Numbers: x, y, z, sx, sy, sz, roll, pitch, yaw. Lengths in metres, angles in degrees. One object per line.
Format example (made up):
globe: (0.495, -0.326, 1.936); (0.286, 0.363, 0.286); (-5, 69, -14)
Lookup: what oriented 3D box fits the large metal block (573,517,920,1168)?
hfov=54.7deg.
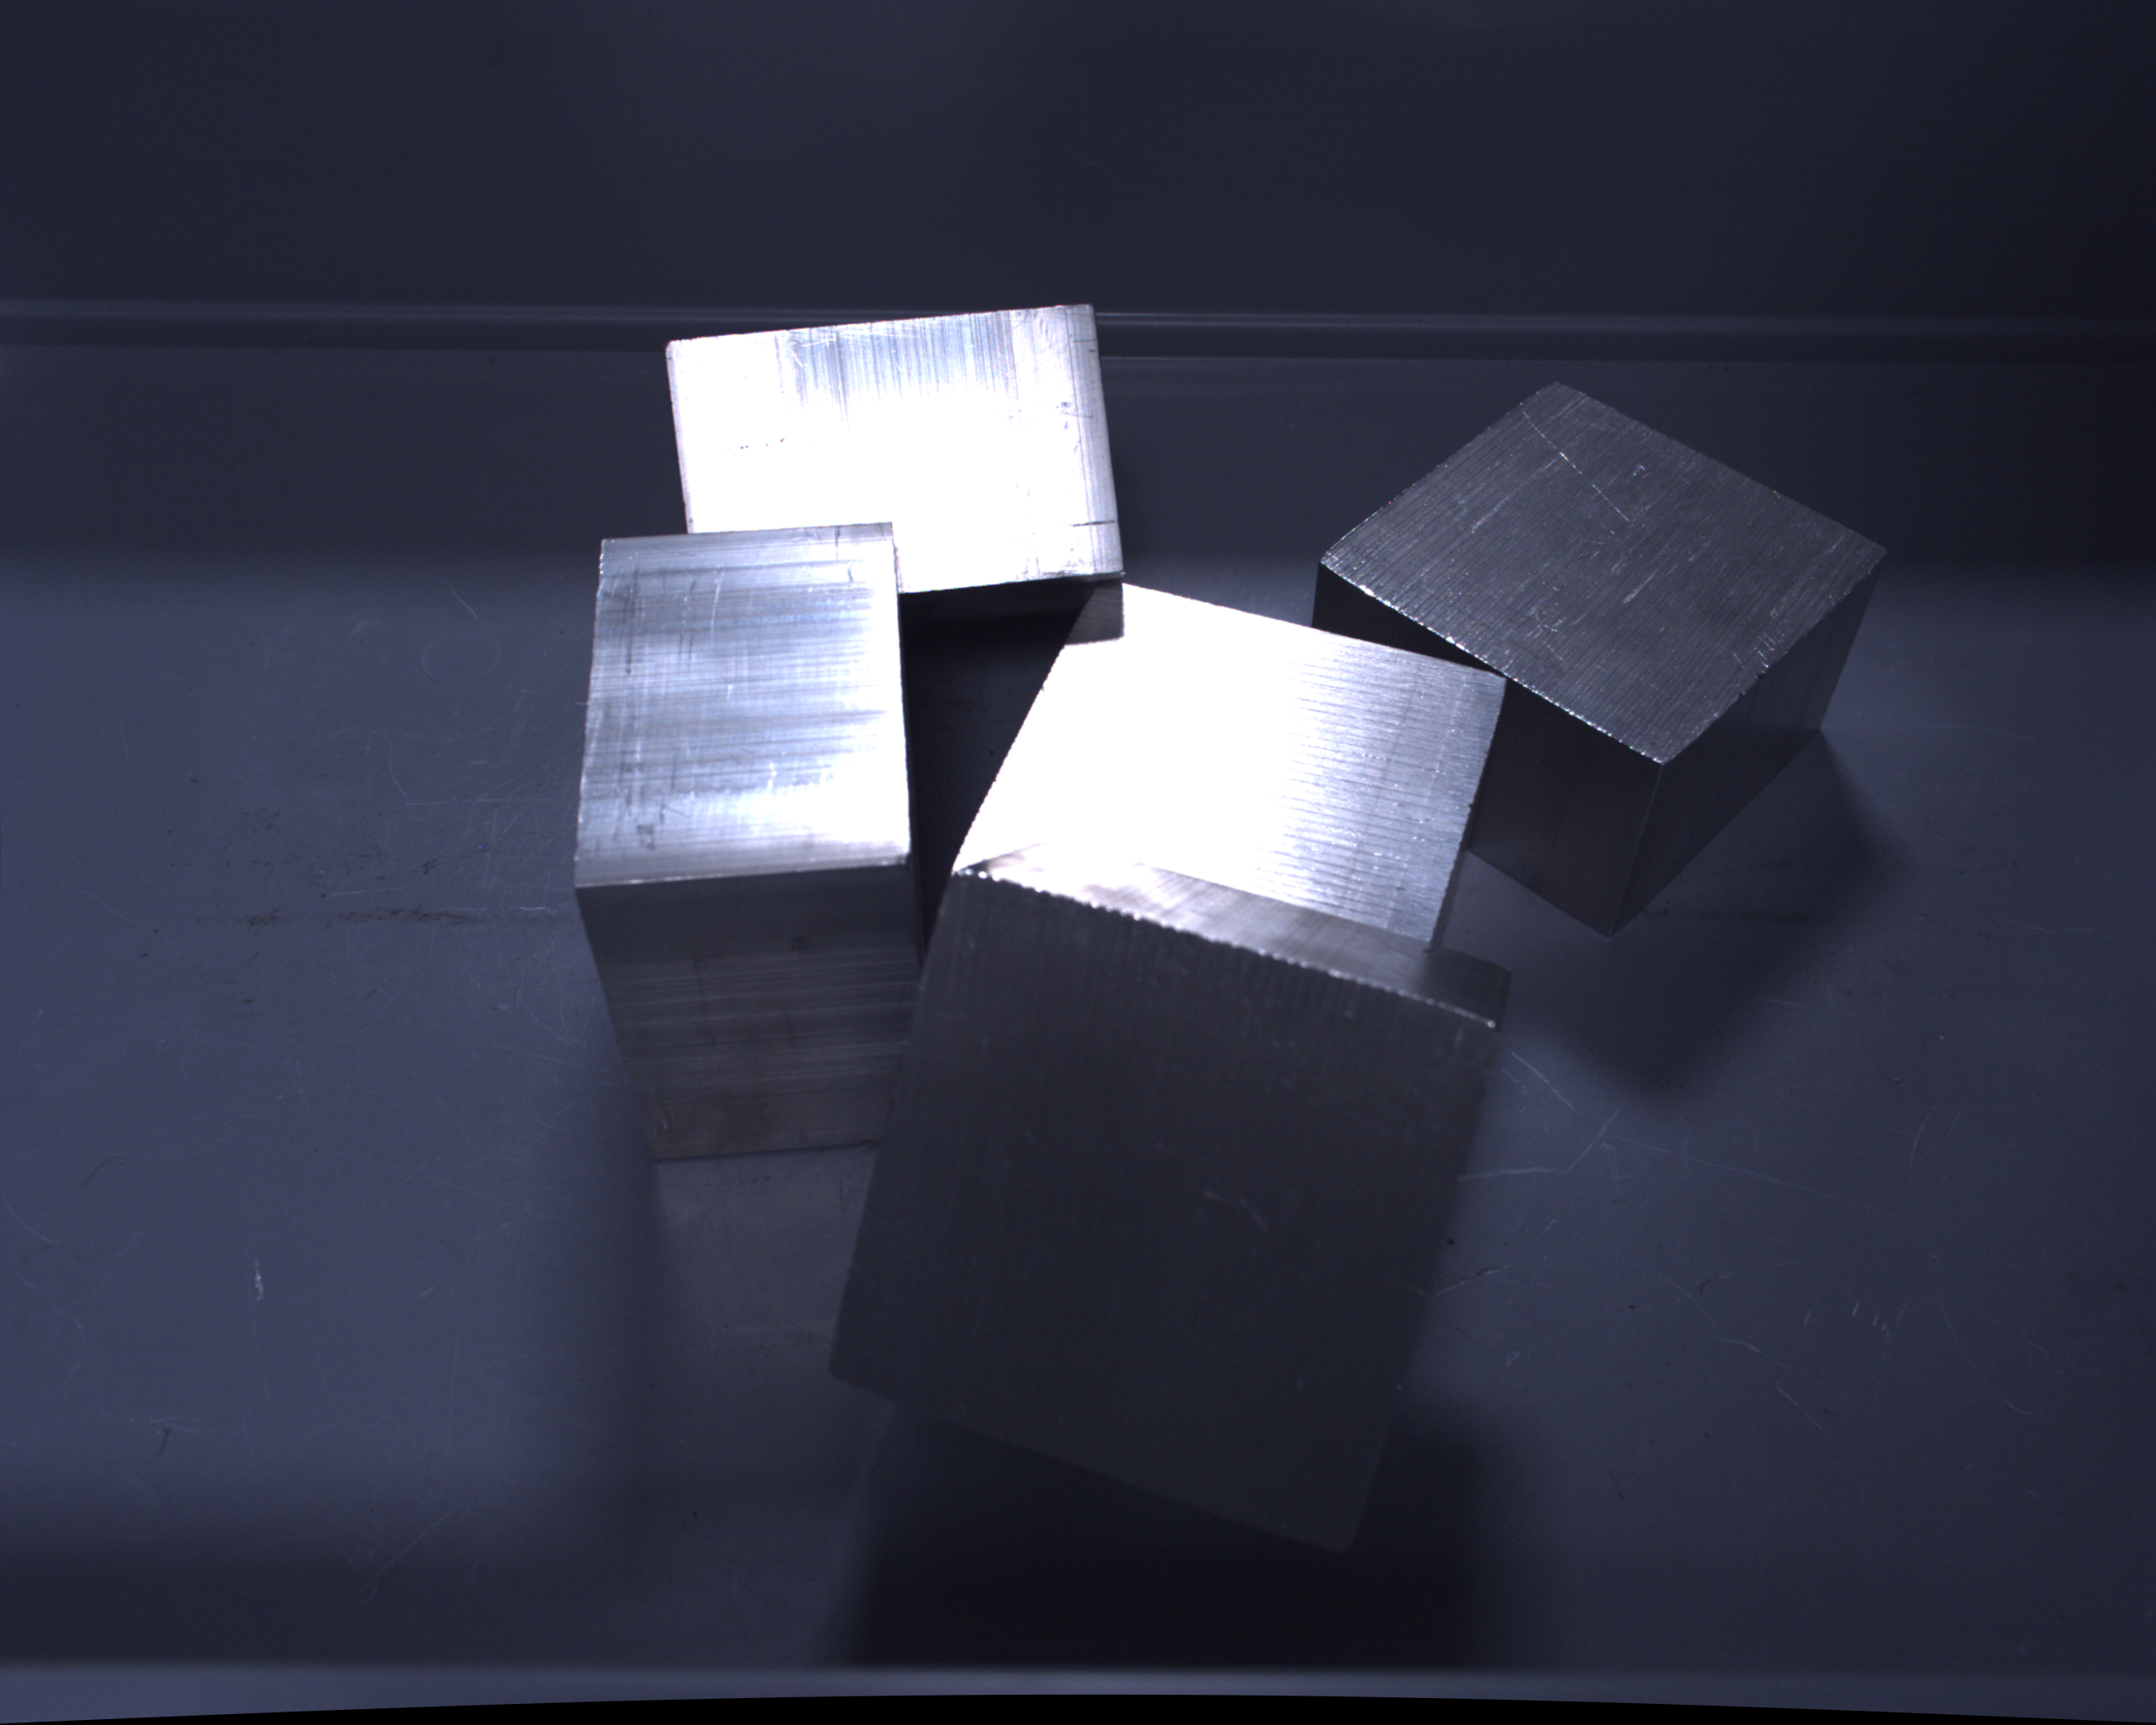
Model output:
large metal block: (-0.055, -0.003, 0.370); (0.050, 0.080, 0.080); (-4, 50, -4)

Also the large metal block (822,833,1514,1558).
large metal block: (0.016, 0.047, 0.320); (0.080, 0.079, 0.050); (16, 10, 11)

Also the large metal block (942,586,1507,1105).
large metal block: (0.028, 0.001, 0.388); (0.080, 0.050, 0.080); (15, 52, 12)

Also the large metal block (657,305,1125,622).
large metal block: (-0.037, -0.075, 0.423); (0.081, 0.080, 0.050); (-6, 92, -5)

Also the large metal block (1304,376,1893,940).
large metal block: (0.102, -0.044, 0.425); (0.080, 0.050, 0.080); (36, 58, 26)
